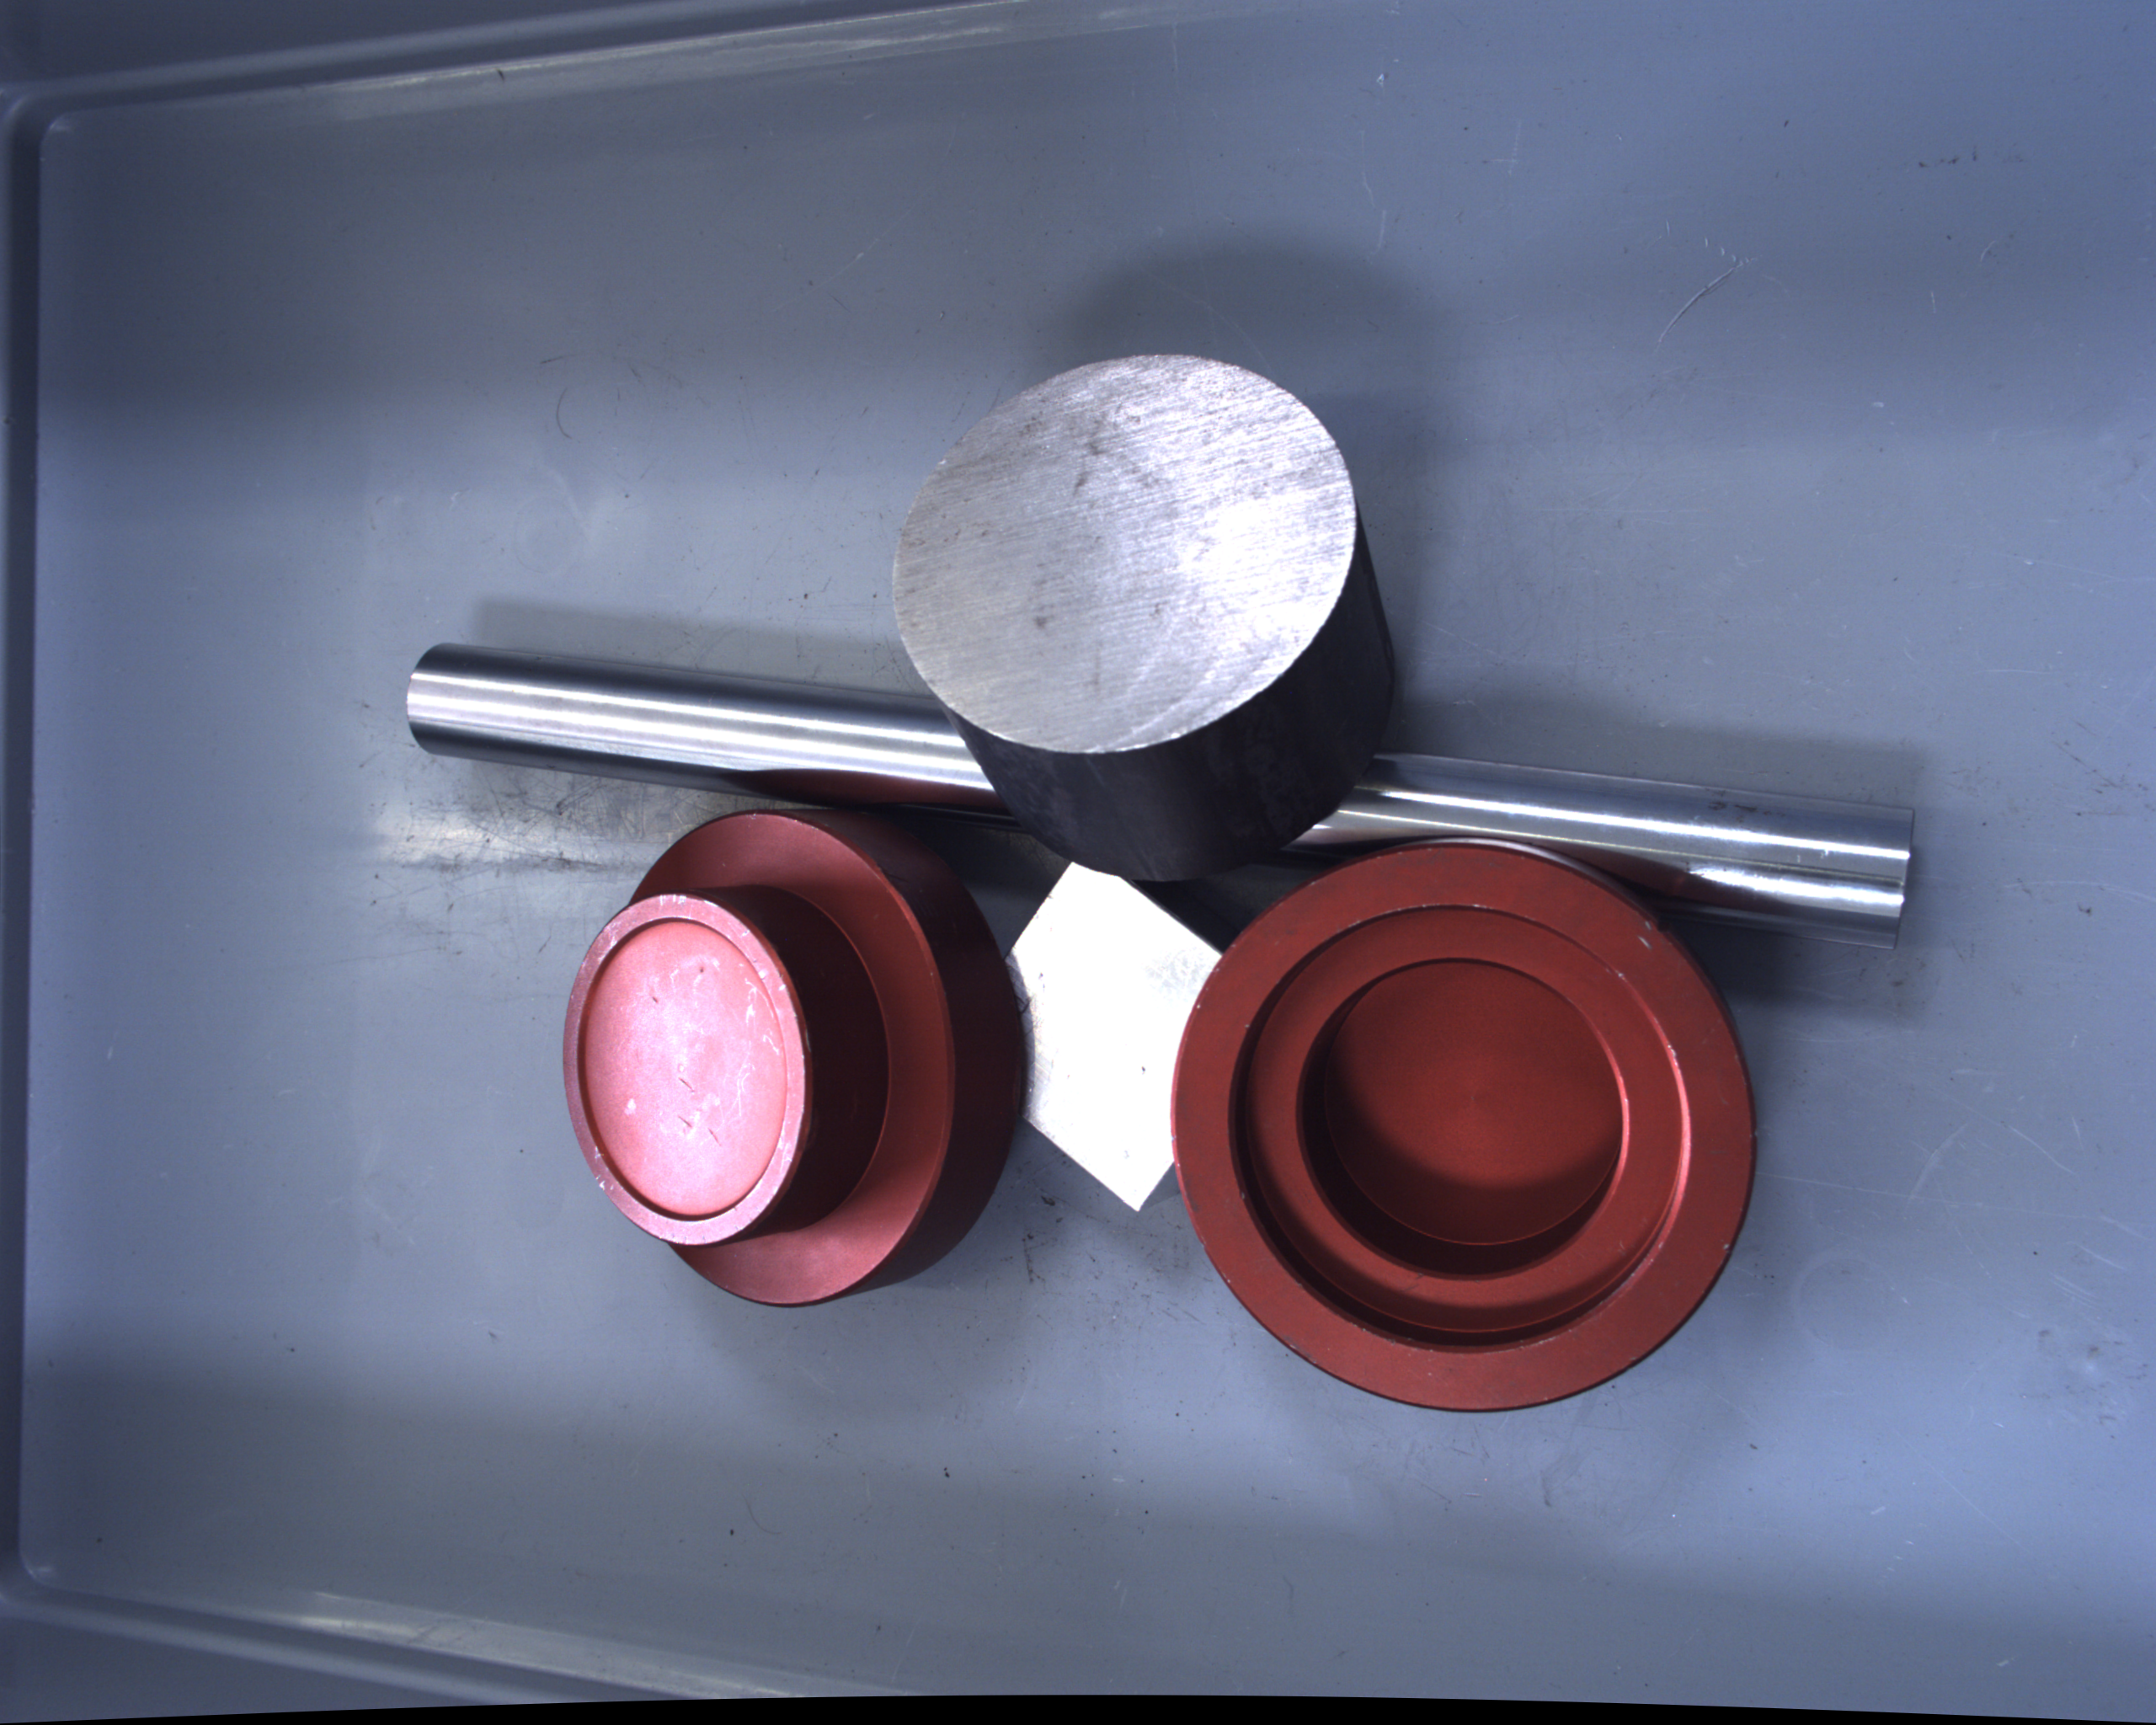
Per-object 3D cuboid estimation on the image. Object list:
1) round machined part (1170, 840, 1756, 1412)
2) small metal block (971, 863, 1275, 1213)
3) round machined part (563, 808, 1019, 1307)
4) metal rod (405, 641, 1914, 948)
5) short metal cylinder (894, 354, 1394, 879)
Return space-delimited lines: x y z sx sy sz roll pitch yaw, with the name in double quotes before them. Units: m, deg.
"round machined part" 0.069 0.044 0.373 0.098 0.042 0.097 1 93 17
"small metal block" 0.011 0.031 0.405 0.050 0.025 0.050 38 102 16
"round machined part" -0.062 0.038 0.408 0.098 0.042 0.097 1 91 38
"metal rod" 0.001 -0.017 0.408 0.301 0.025 0.025 8 93 19
"short metal cylinder" 0.013 -0.044 0.375 0.080 0.050 0.080 -6 63 13
